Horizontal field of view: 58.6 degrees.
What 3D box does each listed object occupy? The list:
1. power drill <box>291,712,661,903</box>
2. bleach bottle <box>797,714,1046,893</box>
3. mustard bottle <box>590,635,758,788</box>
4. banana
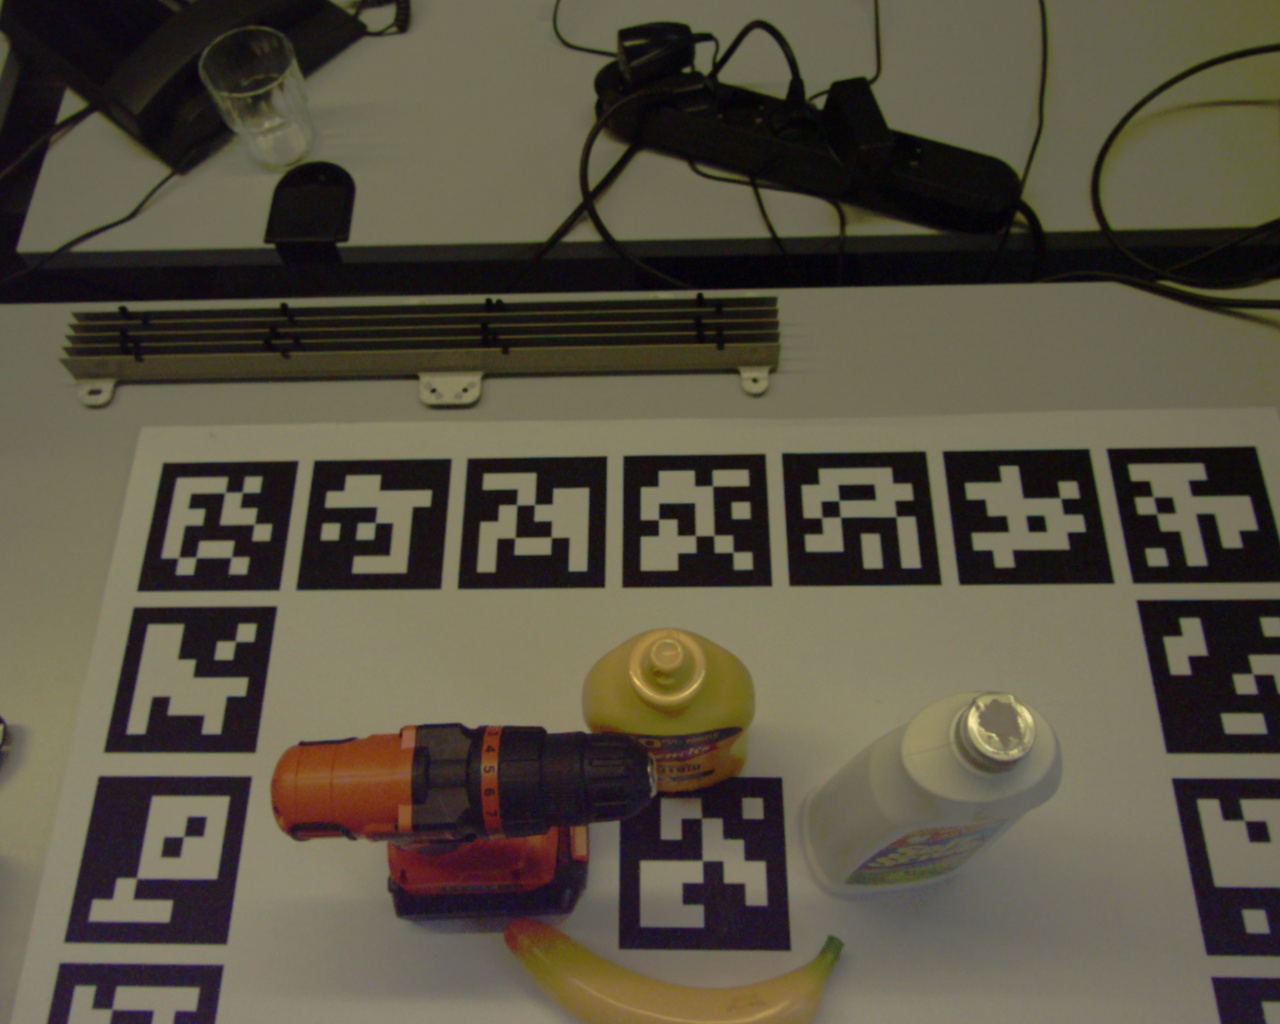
[{"bbox_3d":[-0.082,0.165,0.630,0.184,0.186,0.057,-3,59,-1],"label":"power drill"},{"bbox_3d":[0.149,0.157,0.618,0.102,0.250,0.068,-8,67,-2],"label":"bleach bottle"},{"bbox_3d":[0.020,0.115,0.668,0.096,0.191,0.058,0,65,1],"label":"mustard bottle"},{"bbox_3d":[0.027,0.276,0.674,0.198,0.038,0.074,1,70,6],"label":"banana"}]
